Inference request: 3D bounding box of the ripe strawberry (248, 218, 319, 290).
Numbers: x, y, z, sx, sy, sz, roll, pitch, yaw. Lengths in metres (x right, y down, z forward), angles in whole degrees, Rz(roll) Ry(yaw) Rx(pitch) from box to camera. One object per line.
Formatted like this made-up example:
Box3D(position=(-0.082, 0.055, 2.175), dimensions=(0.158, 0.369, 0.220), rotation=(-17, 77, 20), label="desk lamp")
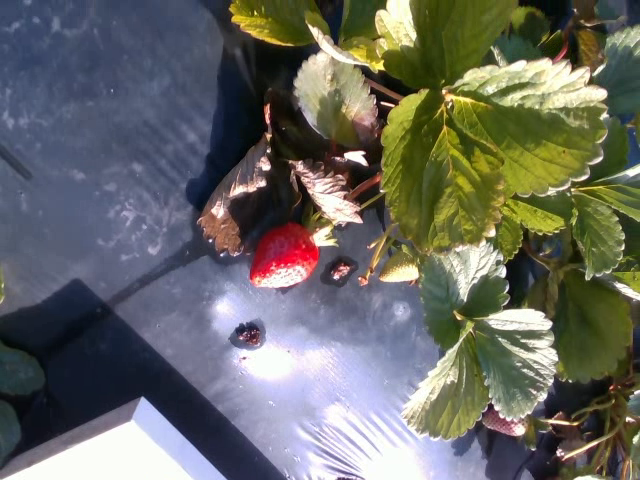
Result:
Box3D(position=(-0.026, 0.014, 0.297), dimensions=(0.054, 0.046, 0.037), rotation=(-31, 34, -28), label="ripe strawberry")
